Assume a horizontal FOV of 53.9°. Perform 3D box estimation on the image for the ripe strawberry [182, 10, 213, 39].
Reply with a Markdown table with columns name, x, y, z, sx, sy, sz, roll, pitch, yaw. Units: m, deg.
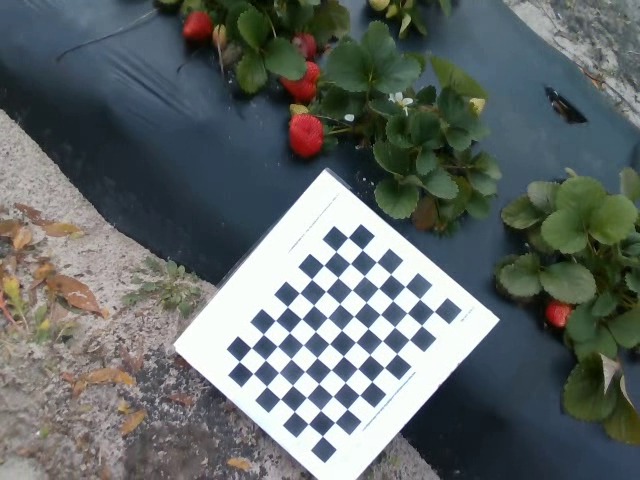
| name | x | y | z | sx | sy | sz | roll | pitch | yaw |
| --- | --- | --- | --- | --- | --- | --- | --- | --- | --- |
| ripe strawberry | -0.160 | -0.281 | 0.815 | 0.044 | 0.041 | 0.051 | 22 | 45 | 8 |

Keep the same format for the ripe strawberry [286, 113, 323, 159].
| name | x | y | z | sx | sy | sz | roll | pitch | yaw |
| --- | --- | --- | --- | --- | --- | --- | --- | --- | --- |
| ripe strawberry | -0.022 | -0.139 | 0.793 | 0.057 | 0.056 | 0.065 | 1 | 0 | 21 |
